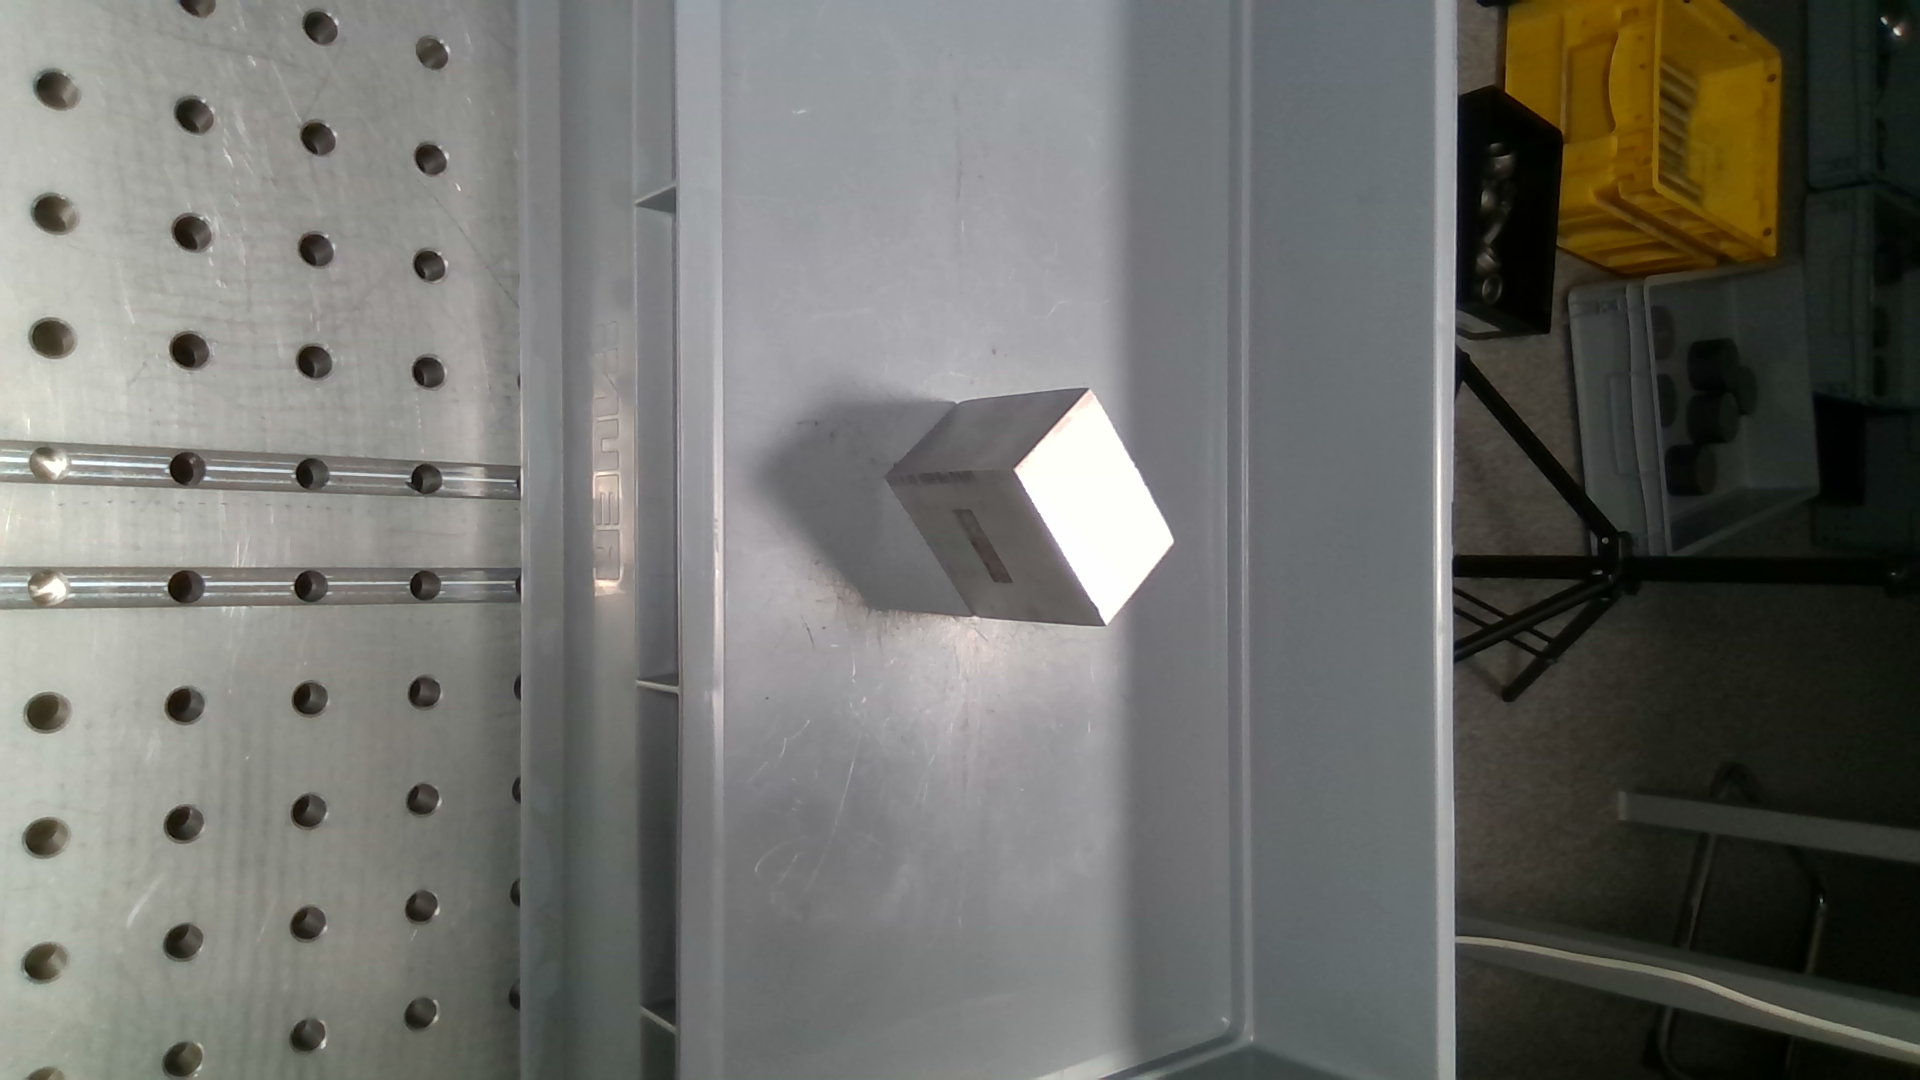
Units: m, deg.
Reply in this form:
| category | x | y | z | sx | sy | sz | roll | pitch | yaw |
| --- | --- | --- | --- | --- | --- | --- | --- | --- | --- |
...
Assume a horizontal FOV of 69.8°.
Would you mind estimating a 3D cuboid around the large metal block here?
| category | x | y | z | sx | sy | sz | roll | pitch | yaw |
| --- | --- | --- | --- | --- | --- | --- | --- | --- | --- |
| large metal block | 0.029 | -0.012 | 0.568 | 0.050 | 0.080 | 0.080 | -48 | 118 | -30 |
